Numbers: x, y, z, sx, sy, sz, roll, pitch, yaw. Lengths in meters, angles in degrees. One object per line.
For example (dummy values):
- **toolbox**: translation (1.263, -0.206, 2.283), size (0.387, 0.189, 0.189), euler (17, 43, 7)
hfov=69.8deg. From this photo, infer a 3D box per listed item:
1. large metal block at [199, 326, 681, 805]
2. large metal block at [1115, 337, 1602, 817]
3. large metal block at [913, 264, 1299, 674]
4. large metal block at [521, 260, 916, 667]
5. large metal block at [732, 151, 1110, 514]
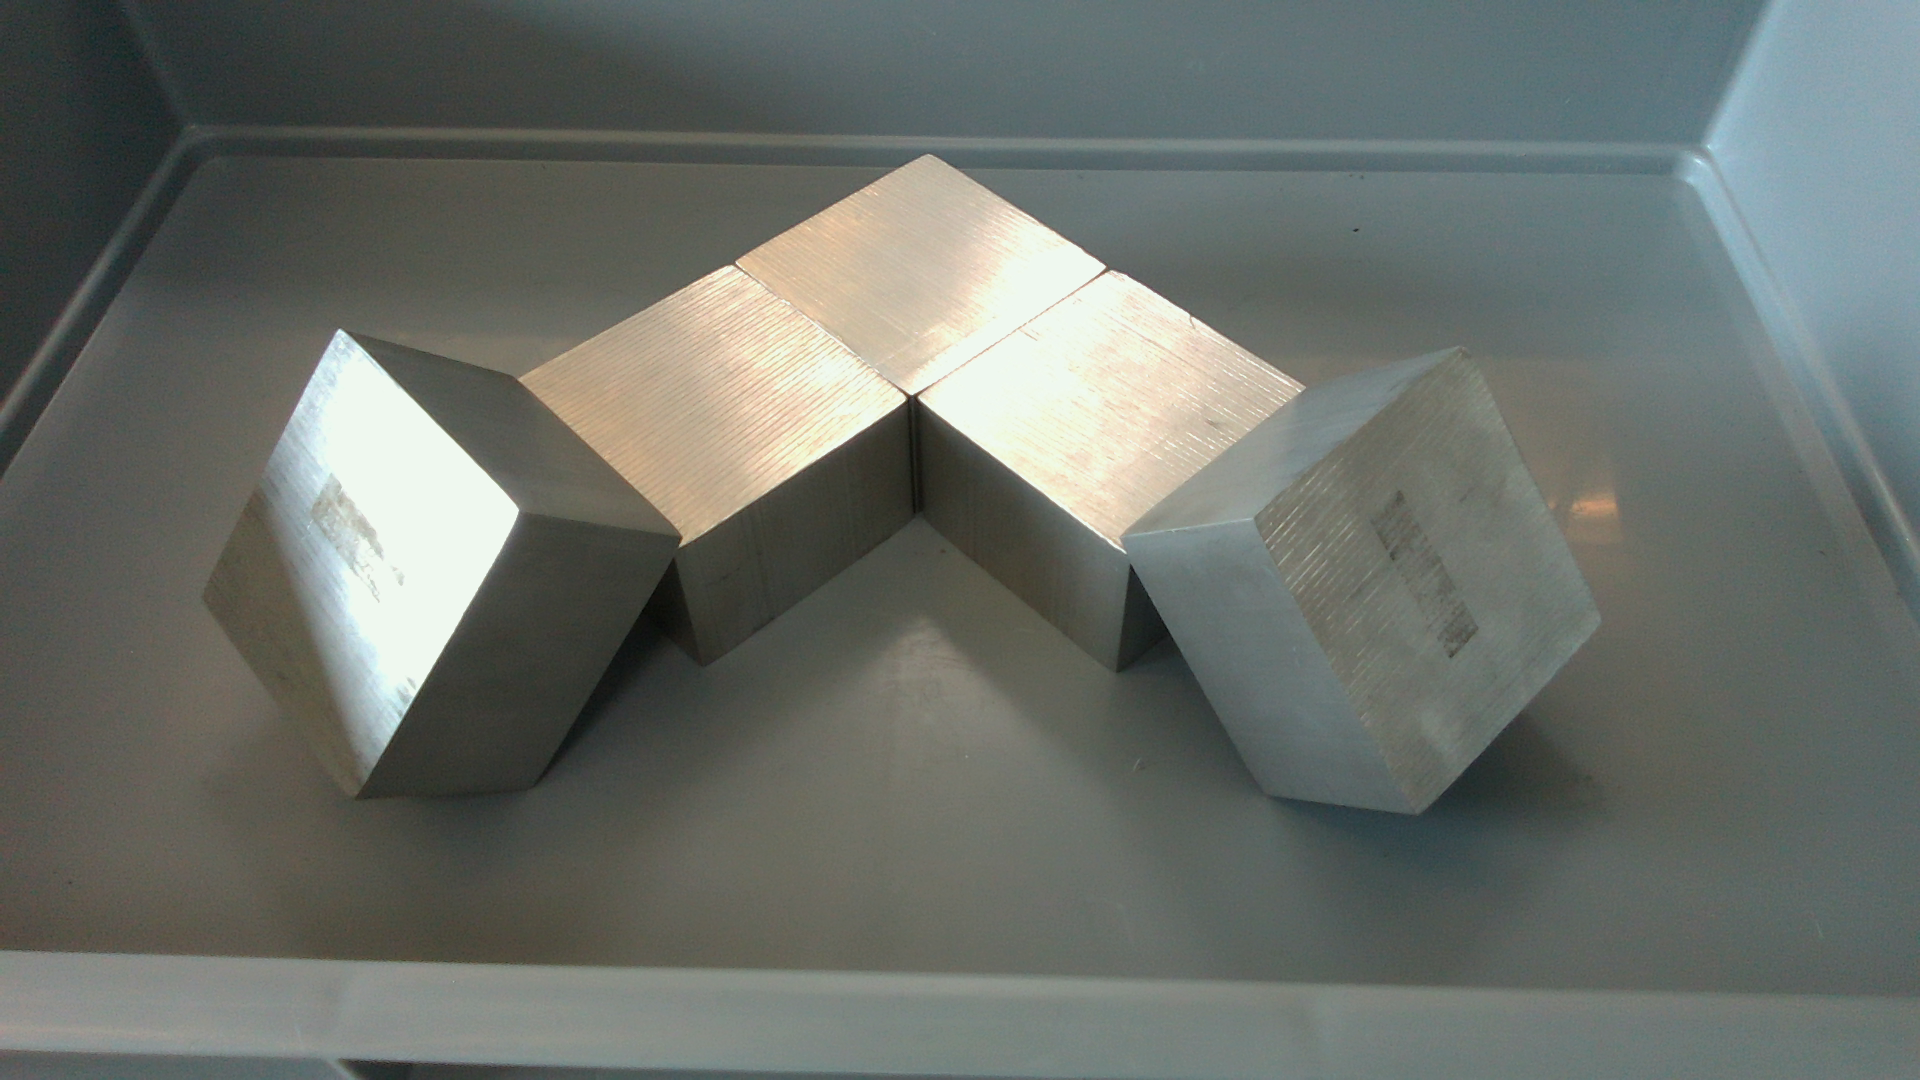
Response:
- **large metal block**: translation (-0.129, 0.007, 0.339), size (0.080, 0.050, 0.080), euler (38, 102, 28)
- **large metal block**: translation (0.099, 0.009, 0.338), size (0.080, 0.050, 0.080), euler (-36, 102, -27)
- **large metal block**: translation (0.044, -0.023, 0.393), size (0.080, 0.050, 0.080), euler (-36, 59, -27)
- **large metal block**: translation (-0.070, -0.025, 0.394), size (0.080, 0.050, 0.080), euler (-36, 59, -27)
- **large metal block**: translation (-0.012, -0.067, 0.430), size (0.080, 0.050, 0.080), euler (-36, 59, -27)
